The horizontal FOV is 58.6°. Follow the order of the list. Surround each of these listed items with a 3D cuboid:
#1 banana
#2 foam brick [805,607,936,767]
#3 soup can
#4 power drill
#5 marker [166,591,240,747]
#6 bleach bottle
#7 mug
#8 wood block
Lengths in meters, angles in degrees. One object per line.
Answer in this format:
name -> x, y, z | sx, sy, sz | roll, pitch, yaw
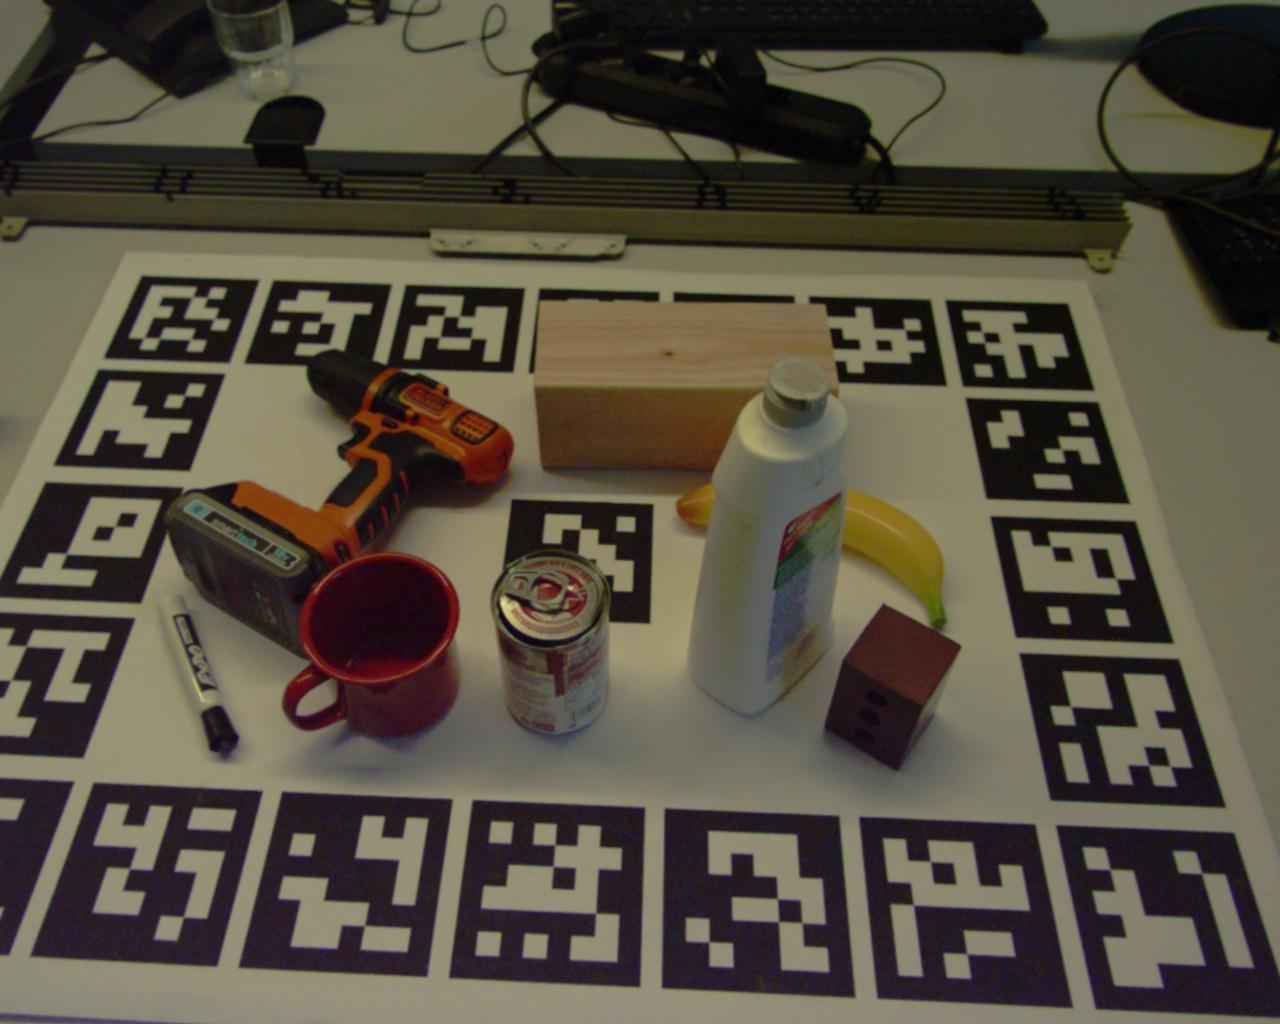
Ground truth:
banana -> 0.102, 0.000, 0.814 | 0.198, 0.039, 0.074 | 16, 66, 10
foam brick -> 0.141, 0.109, 0.706 | 0.053, 0.078, 0.051 | 29, 54, 23
soup can -> -0.061, 0.075, 0.707 | 0.068, 0.102, 0.068 | 2, 47, -2
power drill -> -0.212, -0.021, 0.827 | 0.186, 0.057, 0.186 | 27, 54, 16
marker -> -0.287, 0.102, 0.747 | 0.019, 0.019, 0.122 | -23, 55, -16
bleach bottle -> 0.066, 0.014, 0.670 | 0.068, 0.250, 0.102 | 26, 54, 19
mug -> -0.170, 0.084, 0.719 | 0.116, 0.081, 0.094 | -38, 63, -24
wood block -> 0.025, -0.086, 0.856 | 0.206, 0.090, 0.090 | 2, 52, 1
